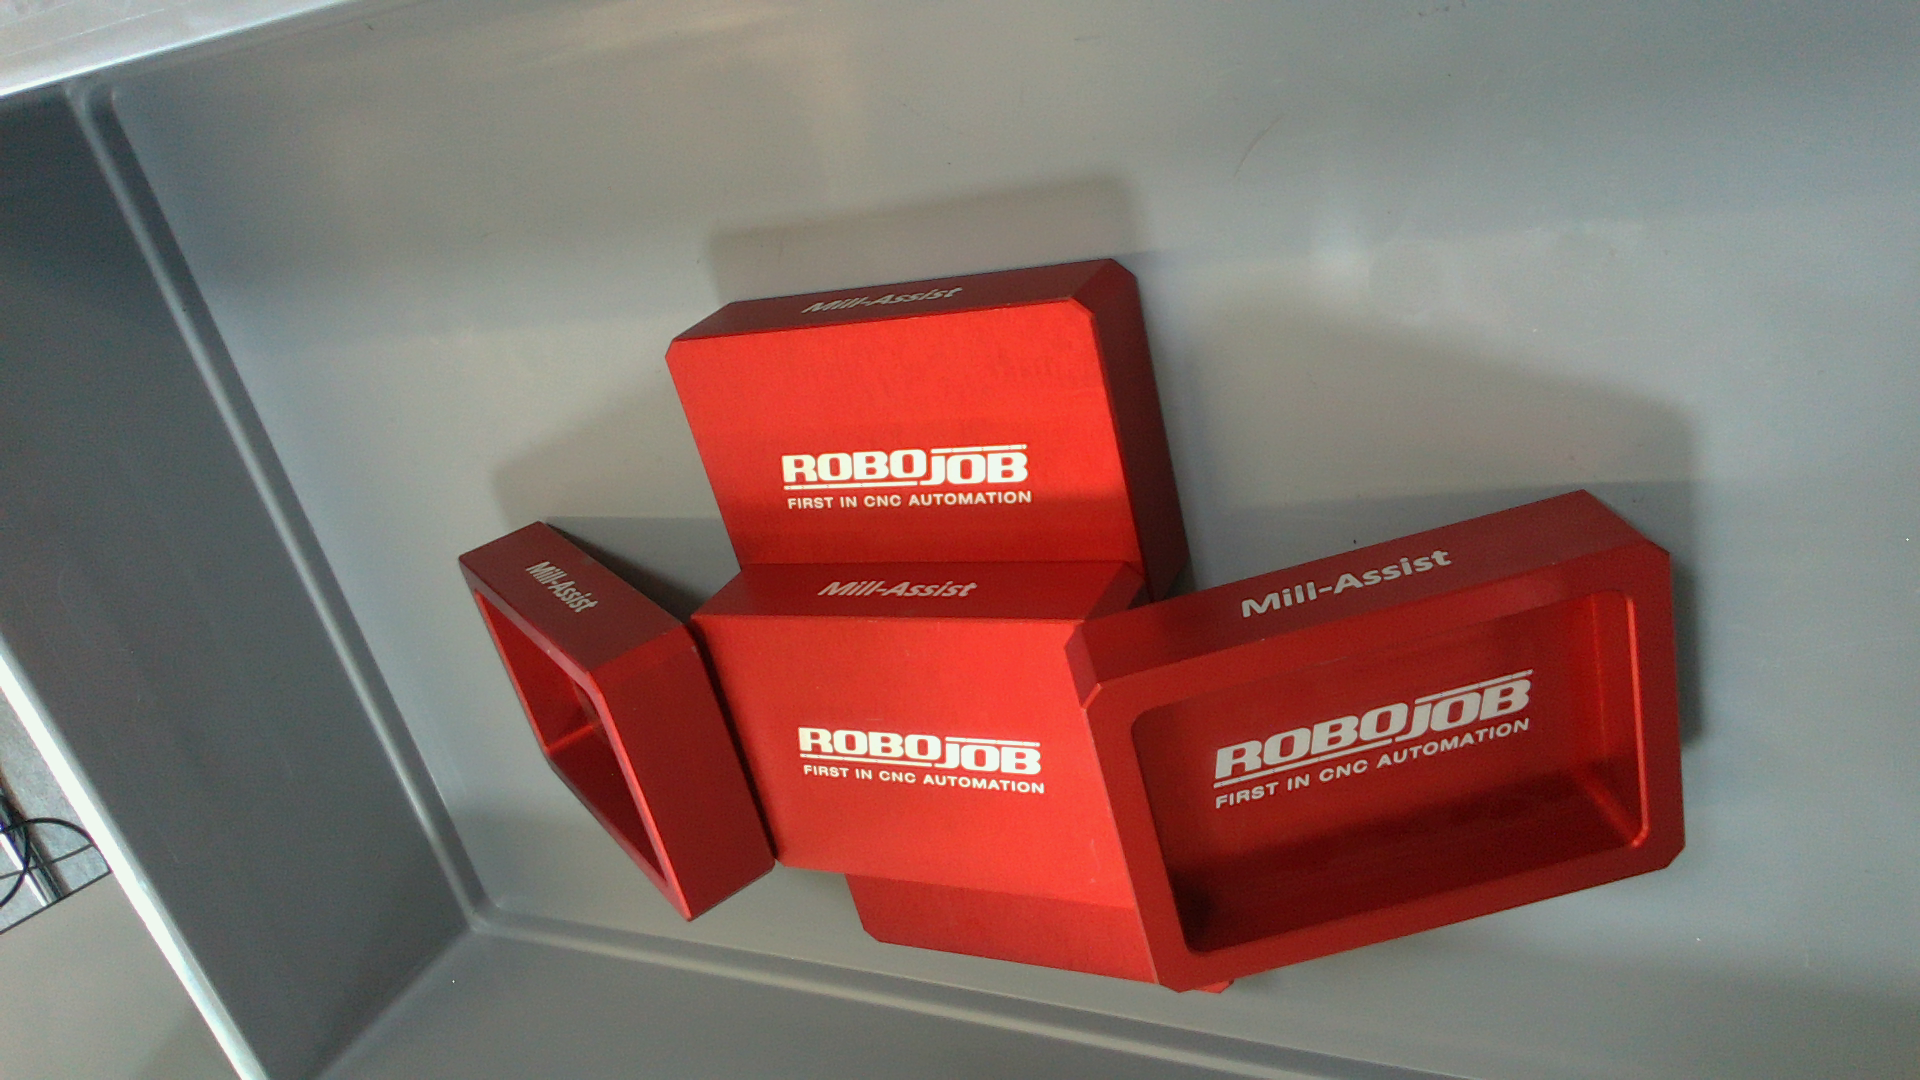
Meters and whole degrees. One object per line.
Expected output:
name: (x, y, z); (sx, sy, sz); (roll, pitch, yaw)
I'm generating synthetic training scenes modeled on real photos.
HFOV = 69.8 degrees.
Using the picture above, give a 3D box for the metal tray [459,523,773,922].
metal tray: (-0.114, 0.053, 0.443); (0.130, 0.030, 0.090); (24, 135, 52)

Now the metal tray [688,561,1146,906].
metal tray: (-0.006, 0.053, 0.385); (0.130, 0.030, 0.090); (-1, 118, 29)

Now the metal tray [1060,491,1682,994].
metal tray: (0.098, 0.049, 0.326); (0.130, 0.030, 0.090); (-15, 114, 3)

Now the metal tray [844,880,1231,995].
metal tray: (0.019, 0.090, 0.432); (0.130, 0.030, 0.090); (-1, 118, 28)

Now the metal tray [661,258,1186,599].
metal tray: (-0.011, -0.023, 0.378); (0.130, 0.030, 0.090); (-1, 118, 28)
